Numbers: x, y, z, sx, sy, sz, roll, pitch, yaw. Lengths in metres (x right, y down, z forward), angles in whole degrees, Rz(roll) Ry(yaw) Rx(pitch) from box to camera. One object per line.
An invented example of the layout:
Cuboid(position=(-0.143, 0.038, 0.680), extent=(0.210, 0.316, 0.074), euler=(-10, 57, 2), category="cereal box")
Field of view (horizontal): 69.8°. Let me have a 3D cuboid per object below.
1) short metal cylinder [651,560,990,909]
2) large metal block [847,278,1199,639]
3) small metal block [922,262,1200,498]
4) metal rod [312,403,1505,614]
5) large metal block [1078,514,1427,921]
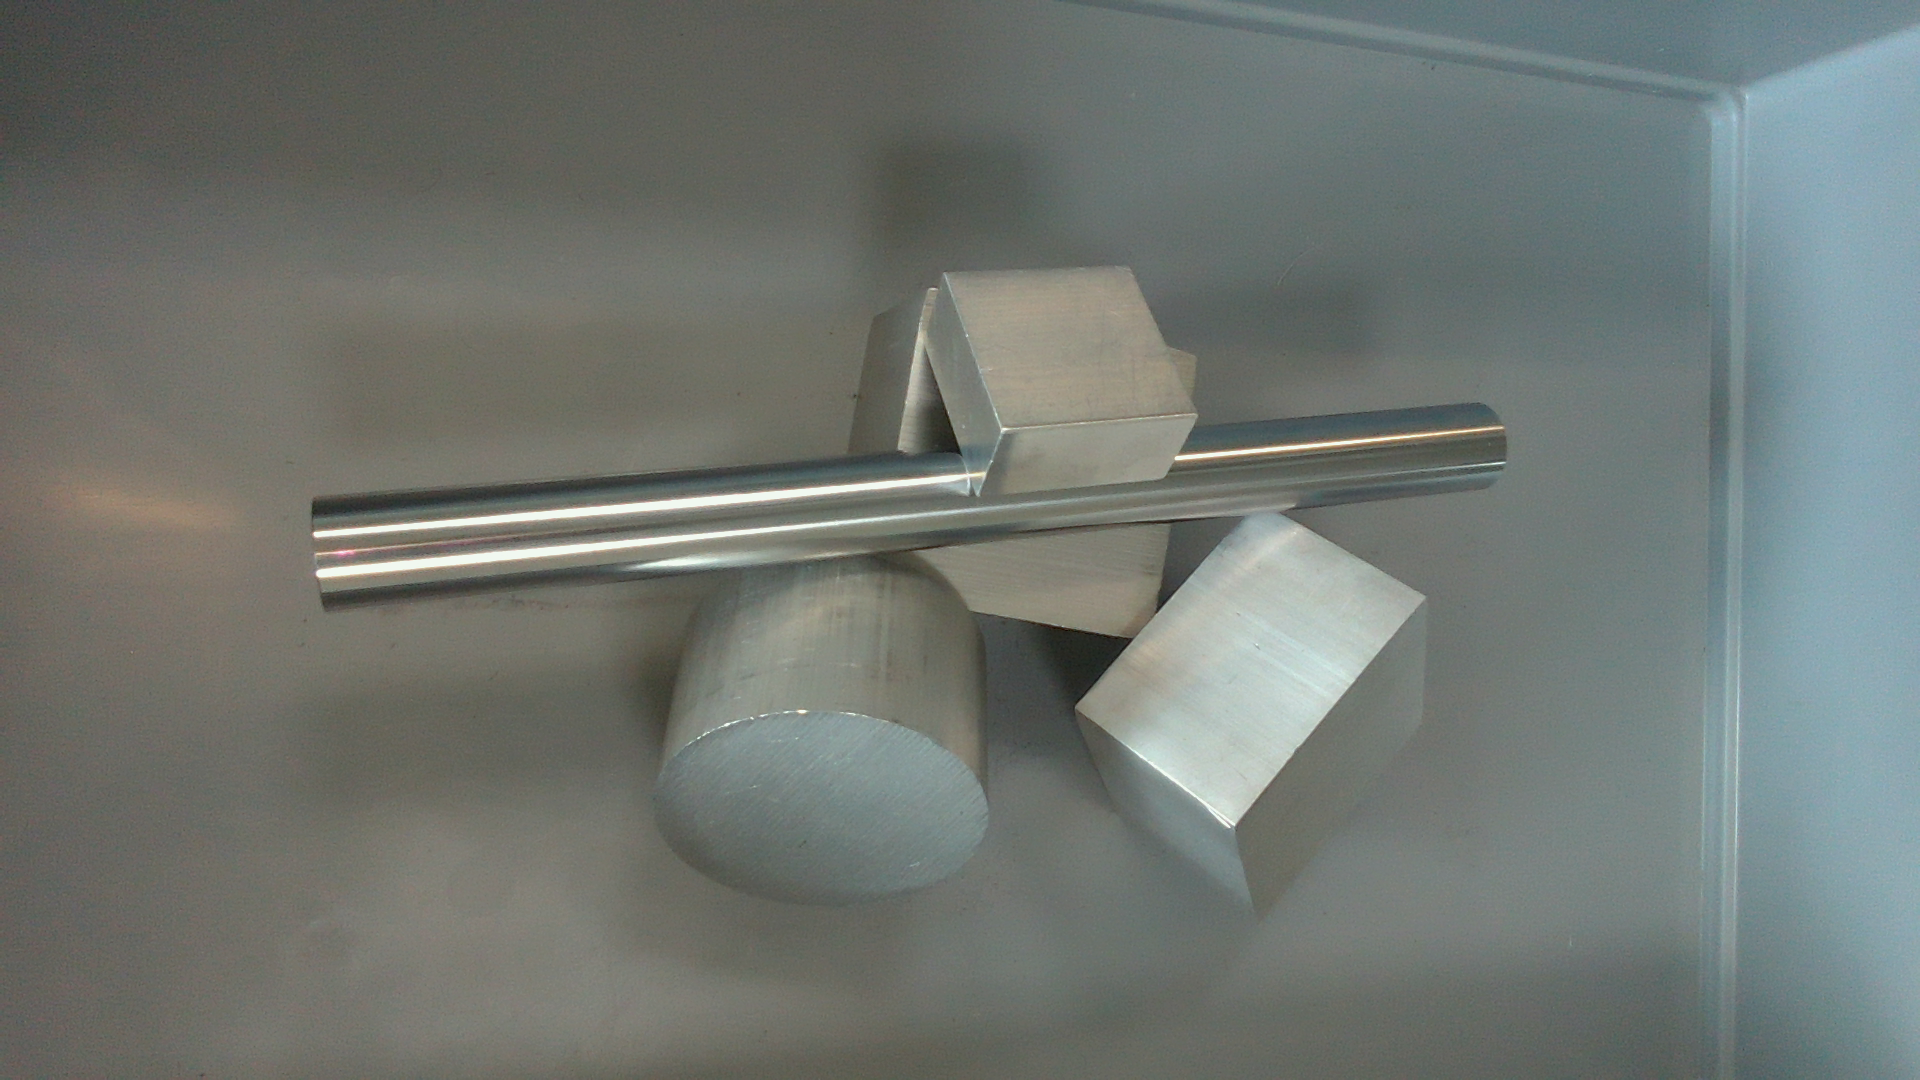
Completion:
Cuboid(position=(-0.033, 0.049, 0.345), extent=(0.080, 0.080, 0.050), euler=(21, 40, -19), category="short metal cylinder")
Cuboid(position=(0.013, -0.020, 0.383), extent=(0.080, 0.050, 0.080), euler=(11, 86, -20), category="large metal block")
Cuboid(position=(0.023, -0.040, 0.335), extent=(0.050, 0.025, 0.050), euler=(-6, 57, -20), category="small metal block")
Cuboid(position=(0.006, -0.012, 0.341), extent=(0.301, 0.025, 0.025), euler=(-6, 92, -20), category="metal rod")
Cuboid(position=(0.085, 0.049, 0.387), extent=(0.080, 0.050, 0.080), euler=(-47, 148, -14), category="large metal block")
